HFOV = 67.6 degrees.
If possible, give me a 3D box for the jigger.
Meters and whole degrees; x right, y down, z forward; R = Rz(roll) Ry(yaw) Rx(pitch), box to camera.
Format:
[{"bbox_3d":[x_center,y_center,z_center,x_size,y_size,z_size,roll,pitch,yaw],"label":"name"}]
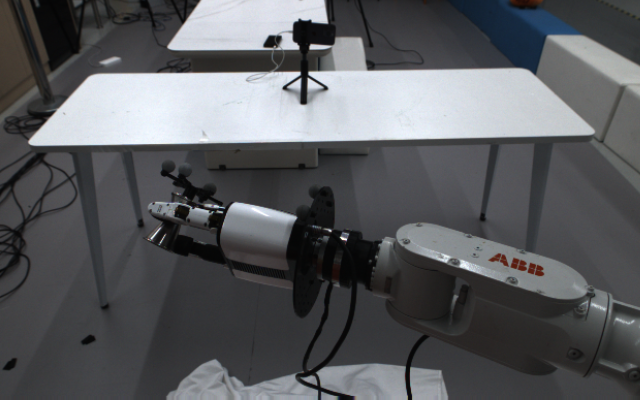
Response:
[{"bbox_3d":[-0.189,0.027,0.615,0.043,0.043,0.071,20,74,24],"label":"jigger"}]
